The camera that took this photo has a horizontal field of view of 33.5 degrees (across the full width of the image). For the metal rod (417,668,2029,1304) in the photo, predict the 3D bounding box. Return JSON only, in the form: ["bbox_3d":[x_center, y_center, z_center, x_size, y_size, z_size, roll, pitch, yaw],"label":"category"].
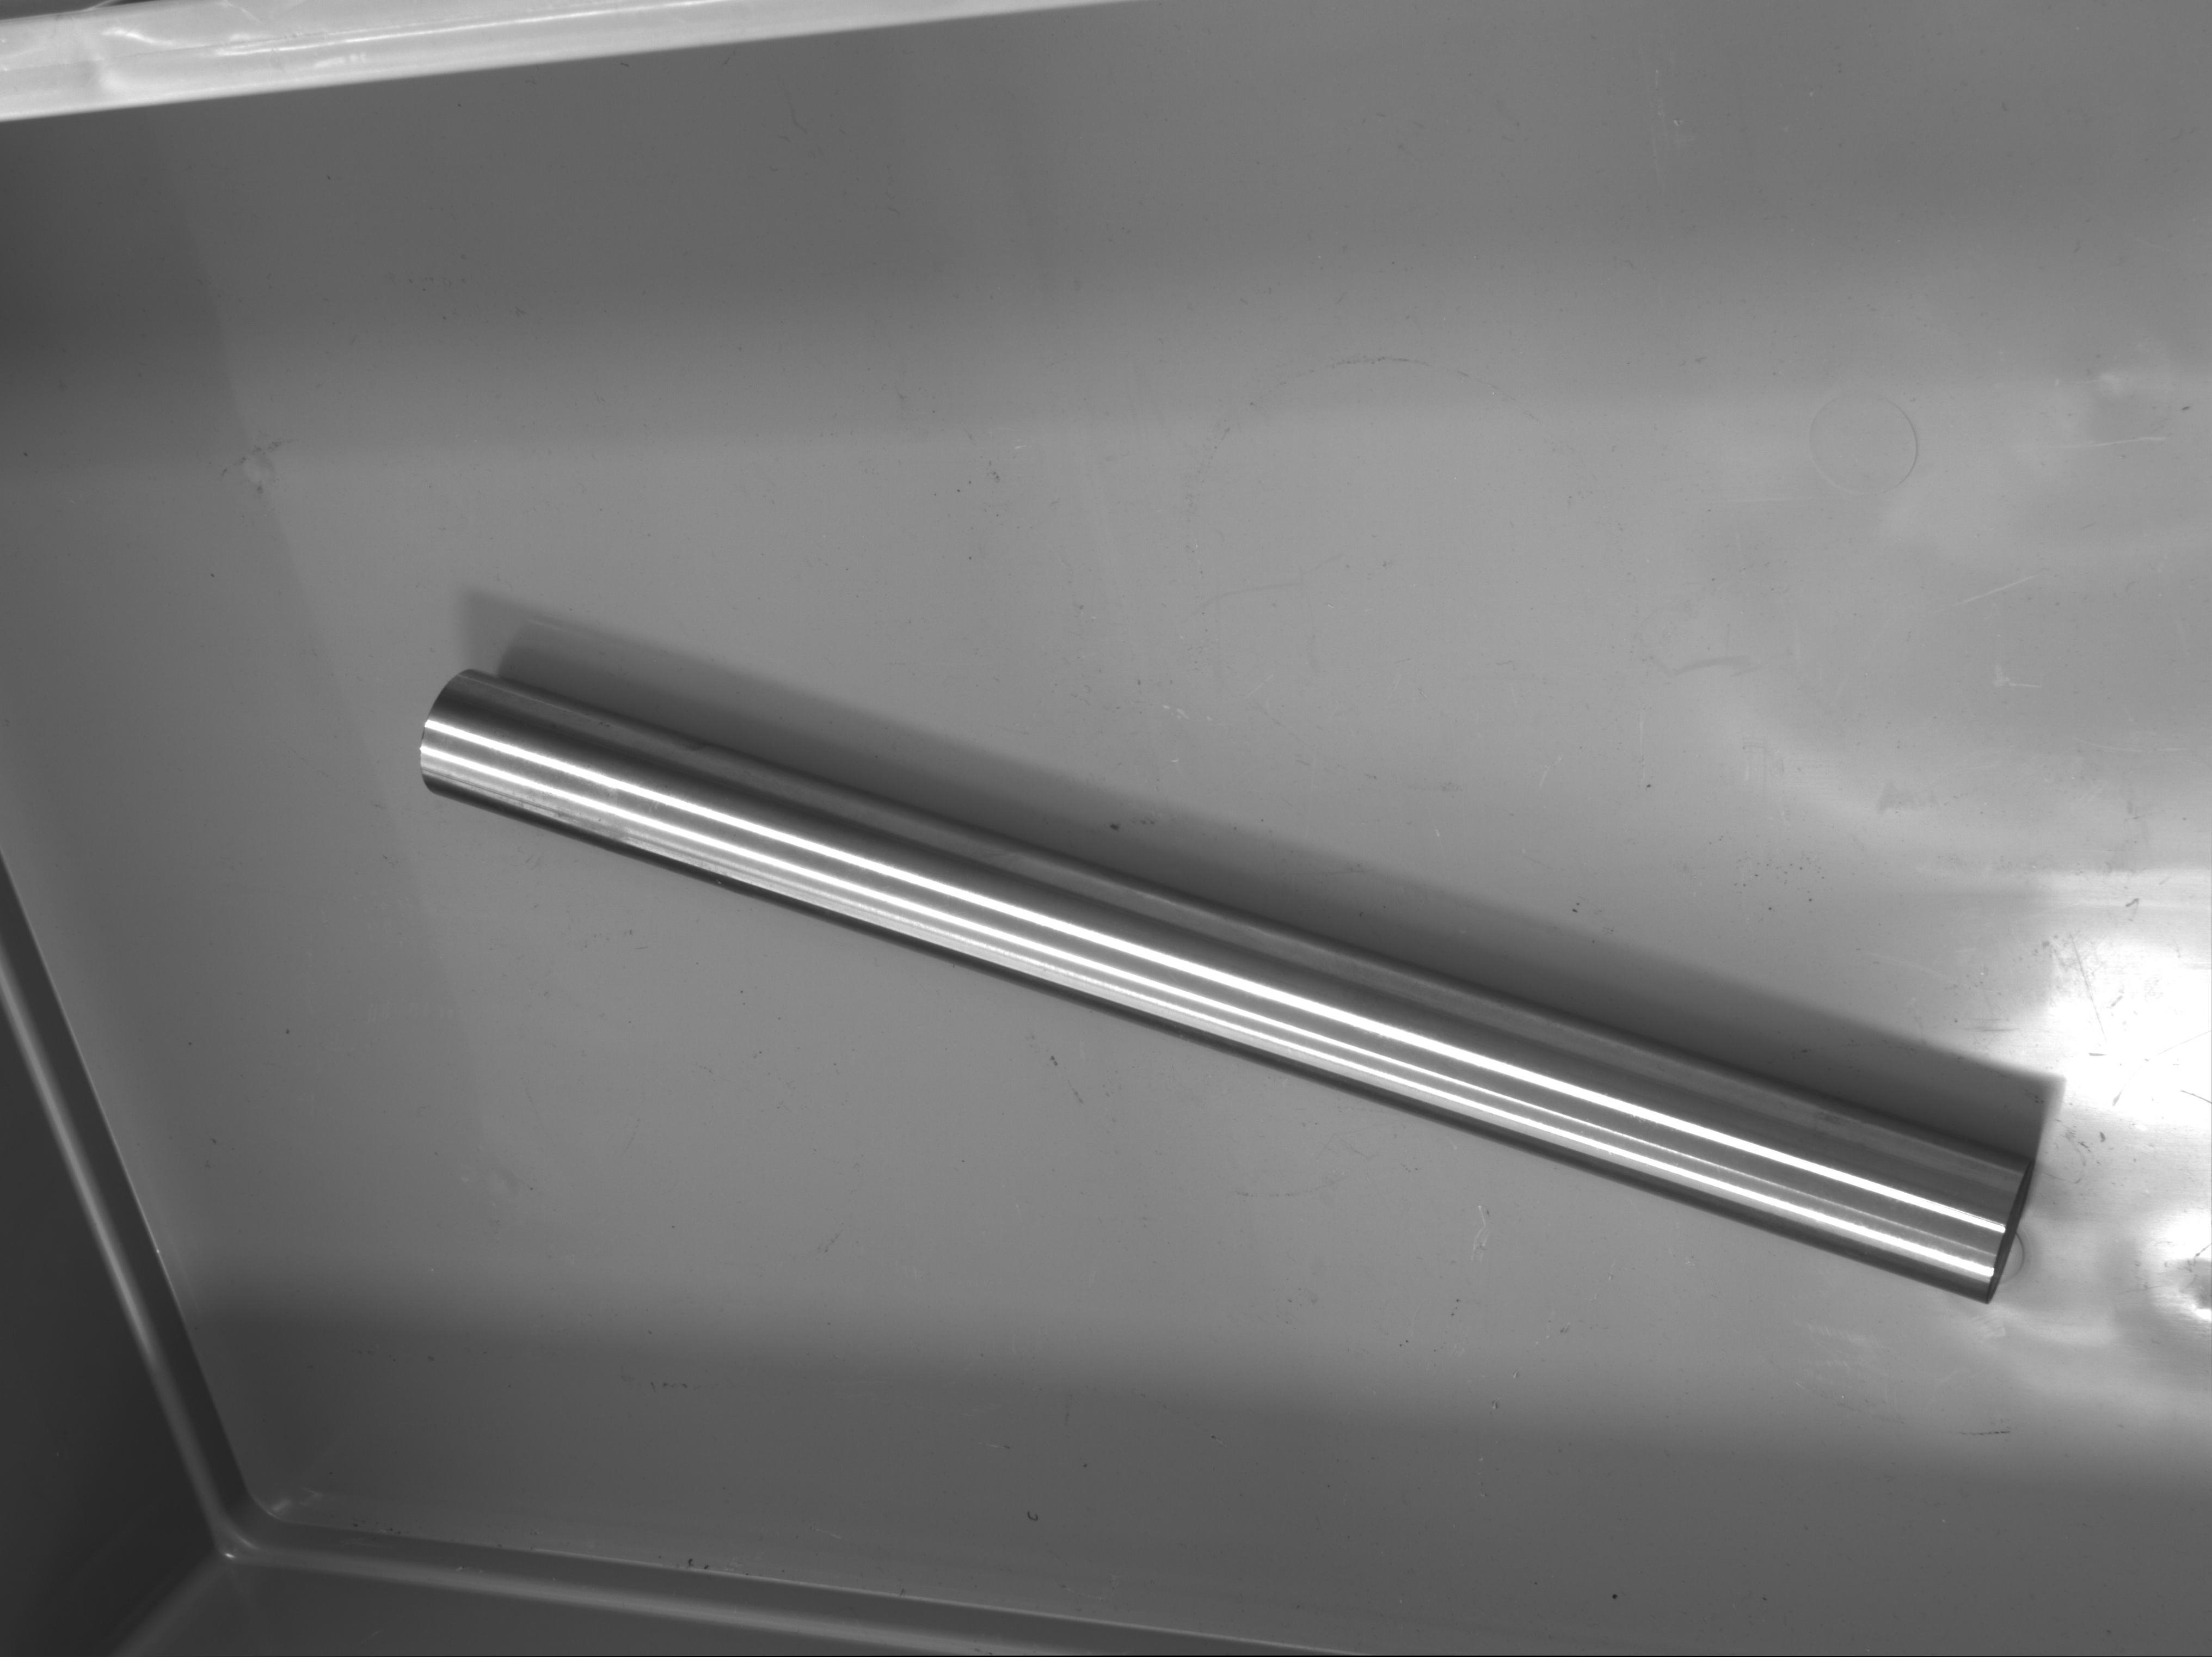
[{"bbox_3d":[0.012,0.024,0.650,0.299,0.025,0.025,17,125,18],"label":"metal rod"}]
